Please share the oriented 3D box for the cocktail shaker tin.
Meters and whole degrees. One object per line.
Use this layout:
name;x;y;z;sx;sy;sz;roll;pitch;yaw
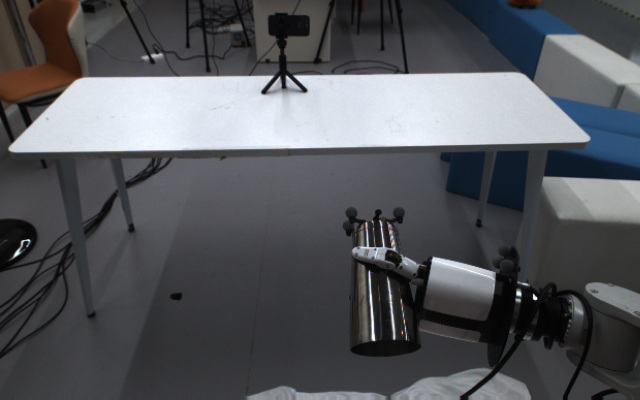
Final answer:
cocktail shaker tin;0.081;0.117;0.660;0.093;0.093;0.170;0;59;-3
